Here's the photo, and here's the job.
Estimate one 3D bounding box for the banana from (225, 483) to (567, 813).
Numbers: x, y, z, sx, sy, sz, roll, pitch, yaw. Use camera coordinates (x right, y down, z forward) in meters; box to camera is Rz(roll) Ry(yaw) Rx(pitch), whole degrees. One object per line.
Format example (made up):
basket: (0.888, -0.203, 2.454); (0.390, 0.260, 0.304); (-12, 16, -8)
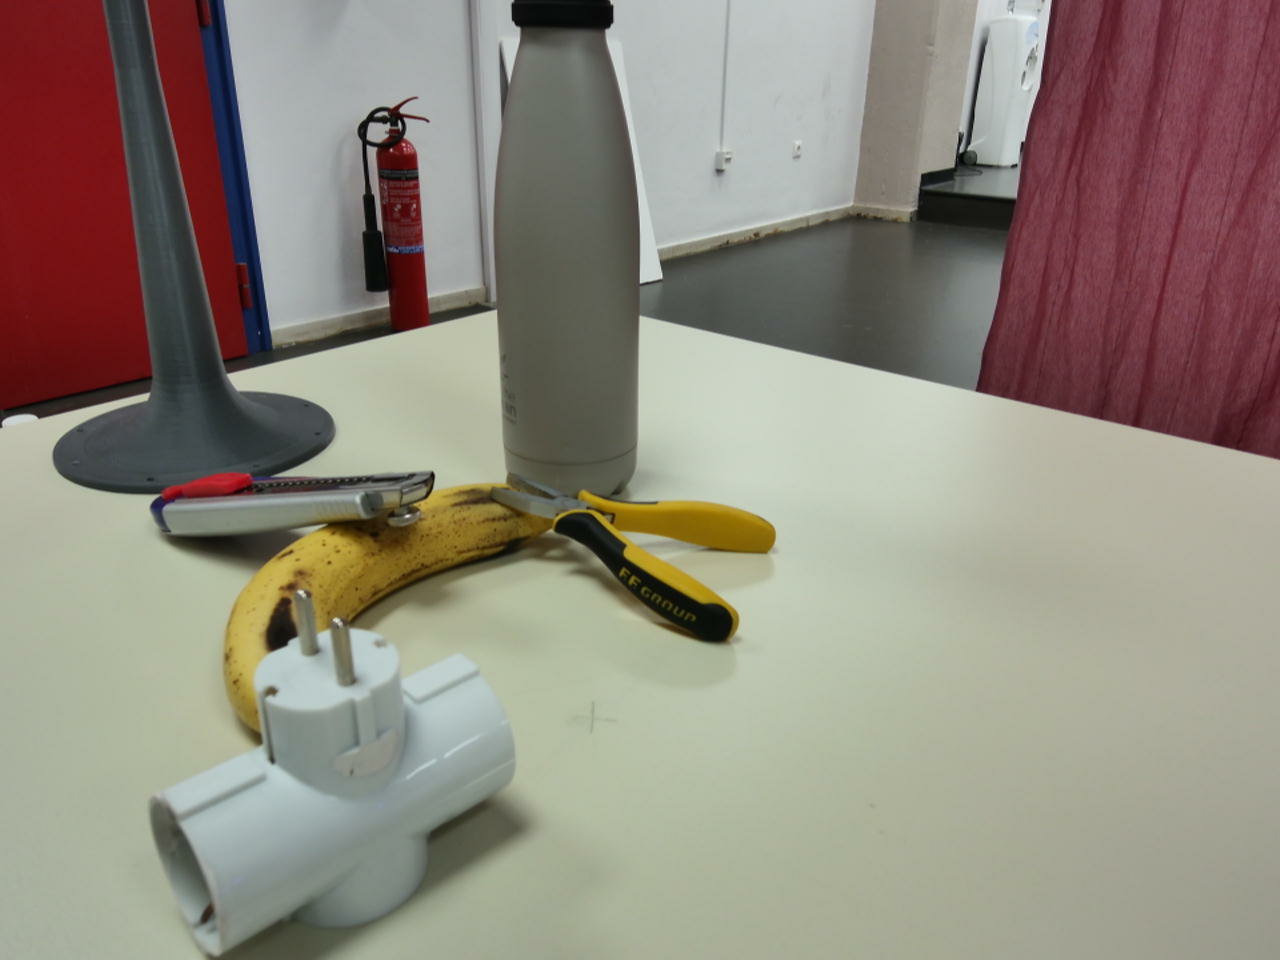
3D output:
banana: (-0.098, 0.044, 0.397); (0.097, 0.038, 0.186); (6, 23, 10)
